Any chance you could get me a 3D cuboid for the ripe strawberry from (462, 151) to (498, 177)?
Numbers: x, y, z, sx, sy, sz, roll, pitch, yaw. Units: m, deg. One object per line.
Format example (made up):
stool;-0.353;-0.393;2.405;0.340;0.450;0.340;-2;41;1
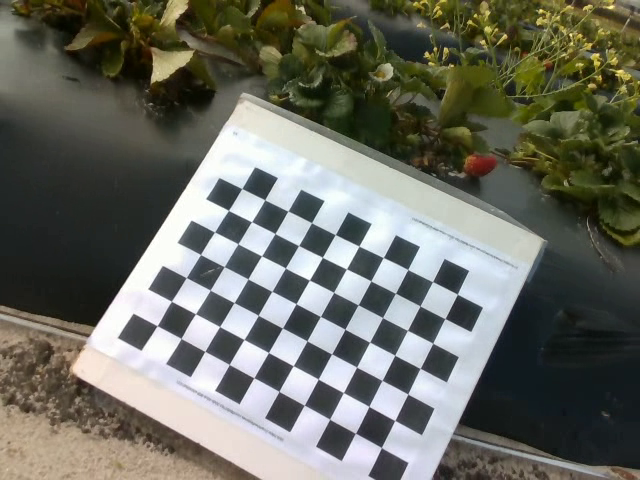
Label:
ripe strawberry;0.111;-0.056;0.426;0.027;0.022;0.021;-1;-5;11
